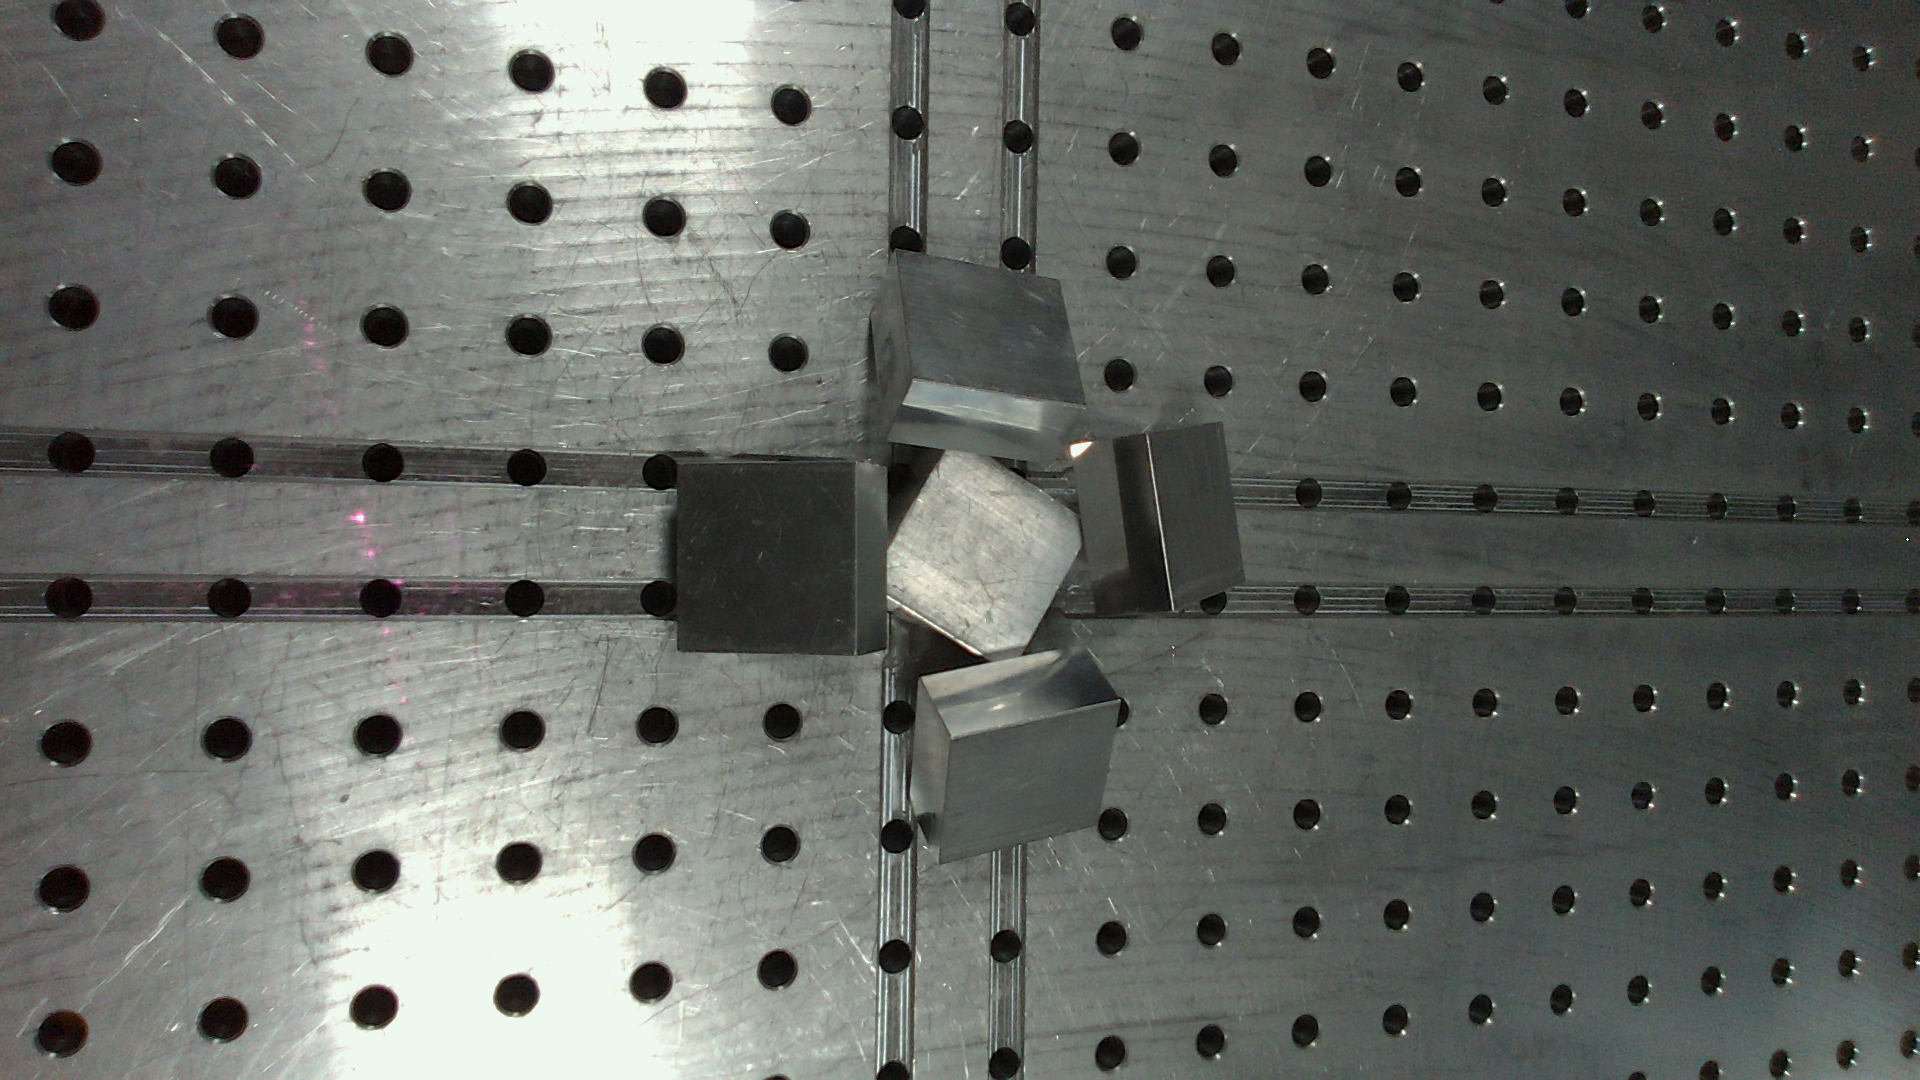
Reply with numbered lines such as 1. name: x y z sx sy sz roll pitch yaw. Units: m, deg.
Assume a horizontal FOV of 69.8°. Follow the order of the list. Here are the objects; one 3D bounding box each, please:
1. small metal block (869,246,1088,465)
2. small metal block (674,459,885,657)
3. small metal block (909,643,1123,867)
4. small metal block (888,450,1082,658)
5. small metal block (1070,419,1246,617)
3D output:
1. small metal block: 0.004 -0.051 0.384 0.050 0.025 0.050 7 52 -19
2. small metal block: -0.048 0.005 0.366 0.050 0.025 0.050 0 90 15
3. small metal block: 0.015 0.060 0.388 0.050 0.025 0.050 -10 129 -20
4. small metal block: 0.002 0.004 0.396 0.050 0.025 0.050 33 79 -17
5. small metal block: 0.059 -0.007 0.405 0.050 0.025 0.050 -13 95 -54
